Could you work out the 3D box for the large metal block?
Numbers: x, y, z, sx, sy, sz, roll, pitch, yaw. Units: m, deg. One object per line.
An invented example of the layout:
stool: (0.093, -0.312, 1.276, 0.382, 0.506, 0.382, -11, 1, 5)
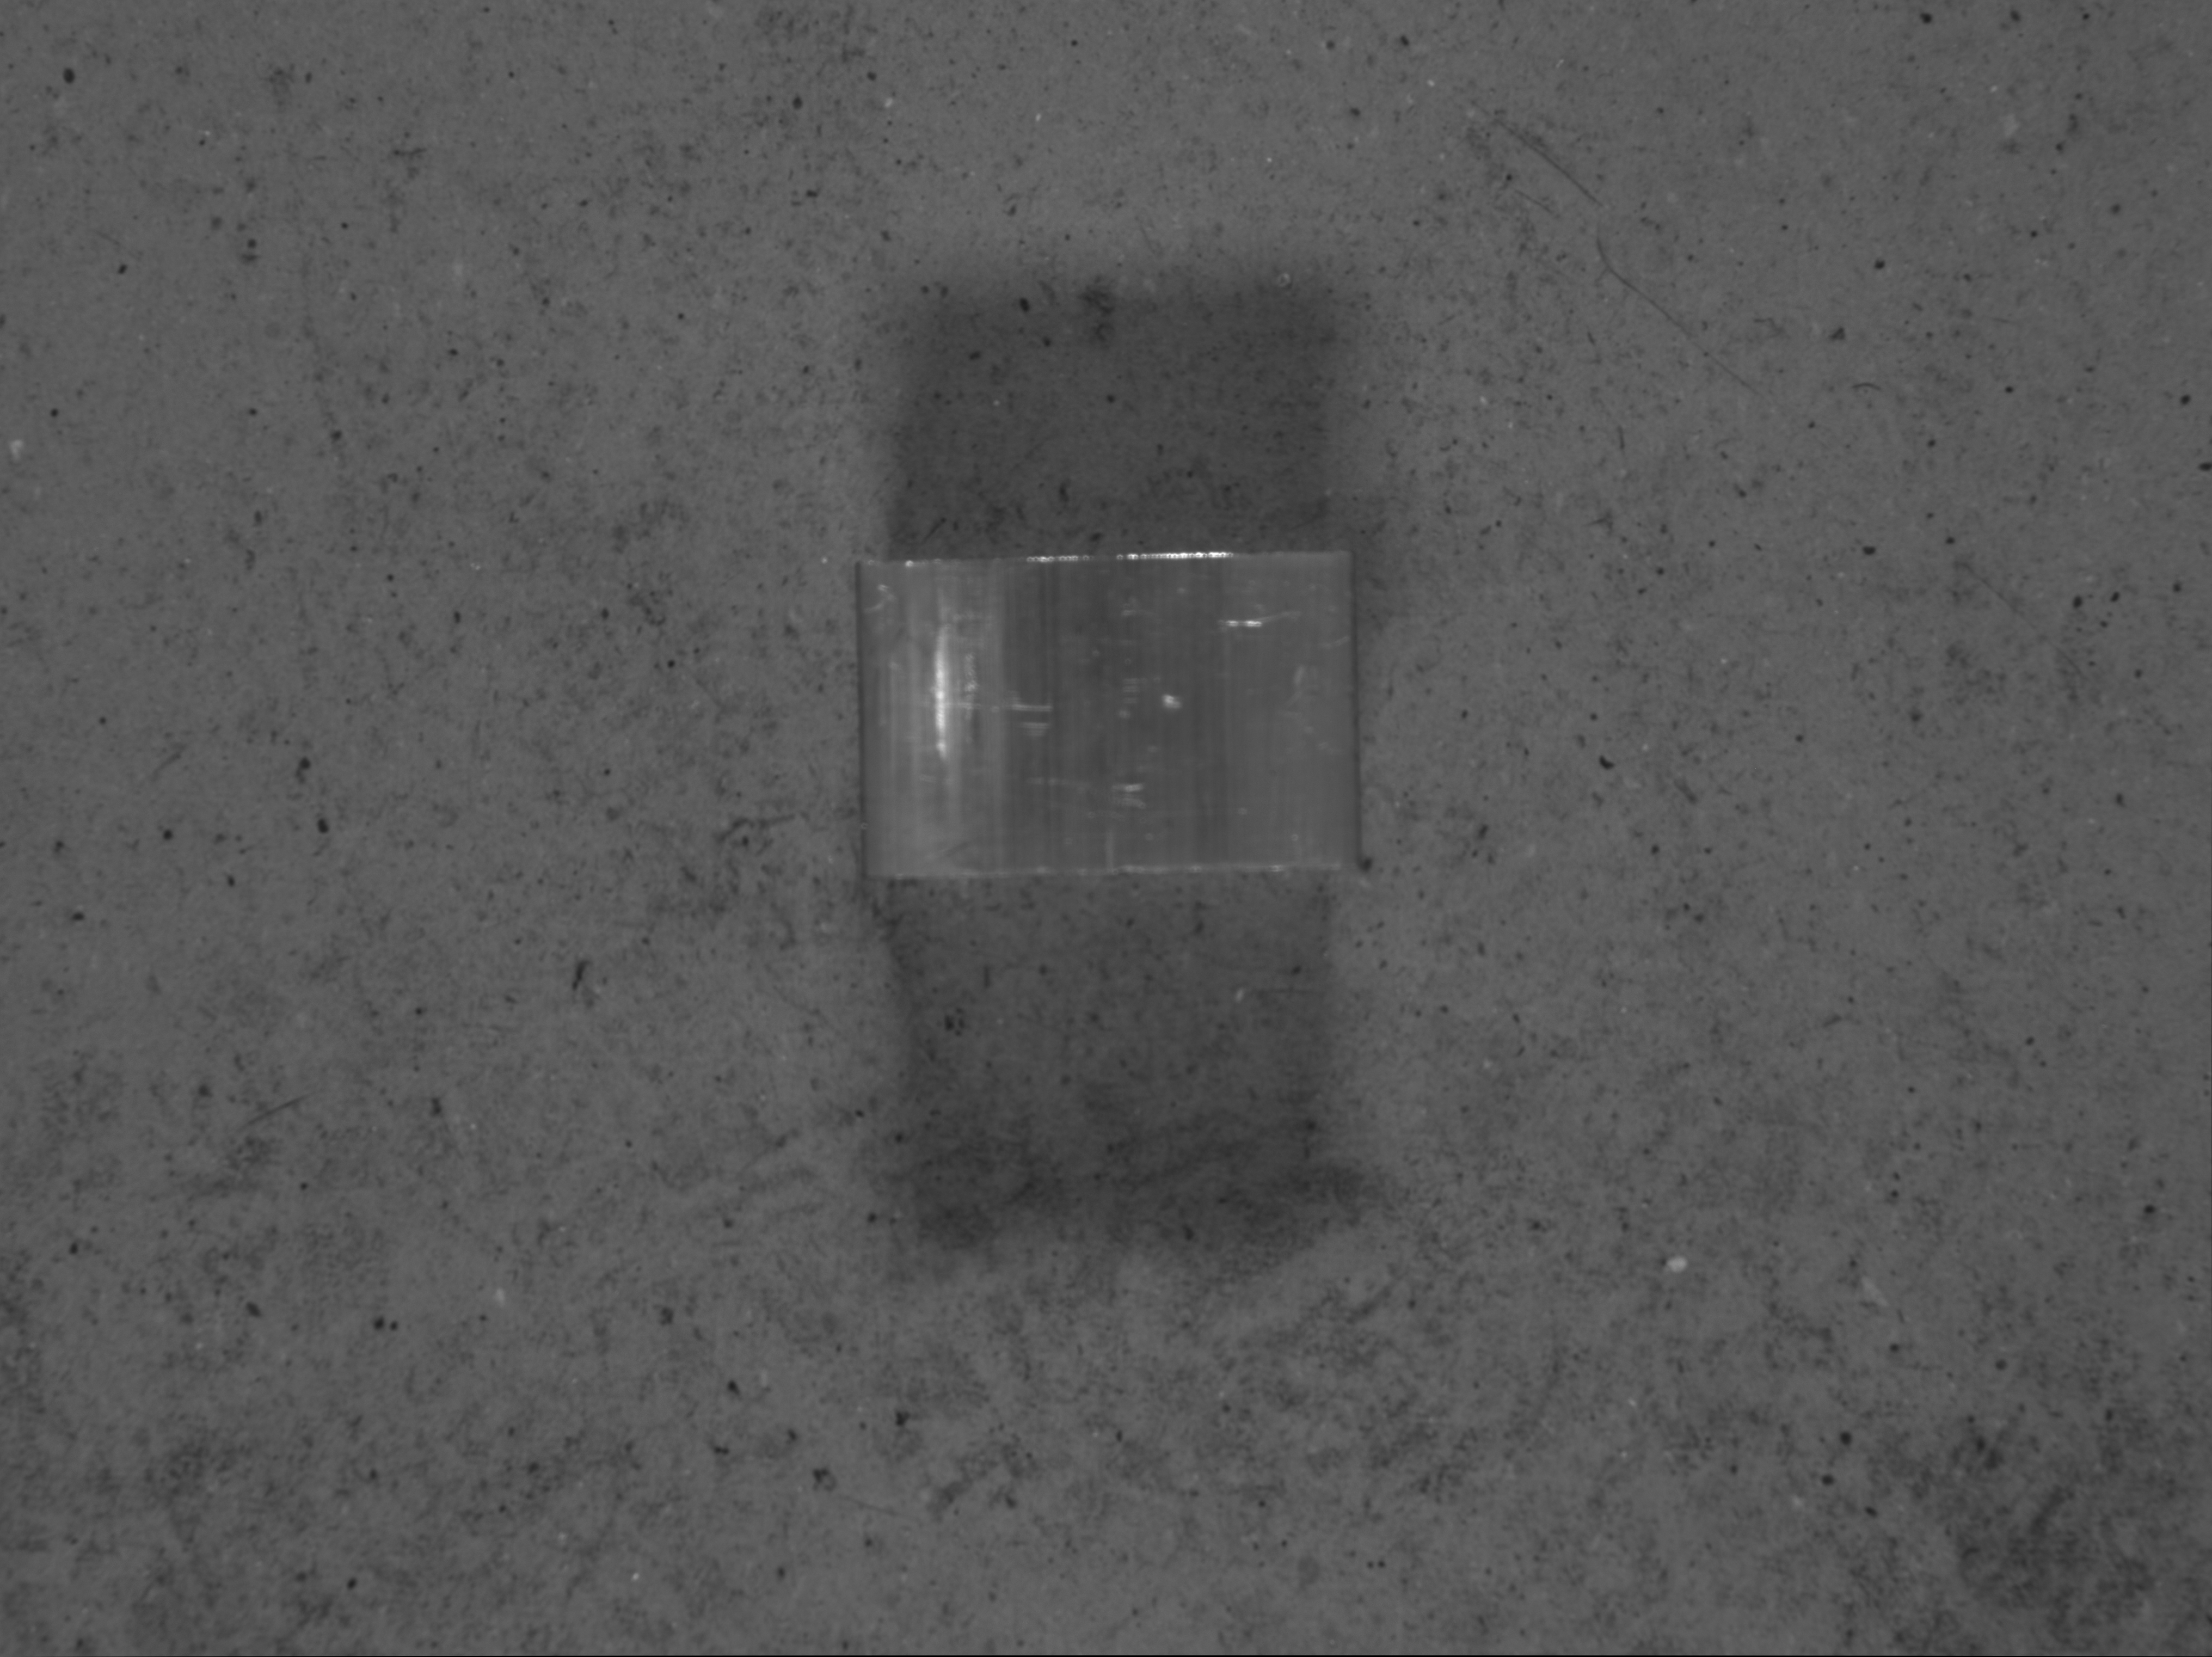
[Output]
large metal block: (-0.001, -0.018, 0.618, 0.080, 0.080, 0.050, -1, 90, 0)
